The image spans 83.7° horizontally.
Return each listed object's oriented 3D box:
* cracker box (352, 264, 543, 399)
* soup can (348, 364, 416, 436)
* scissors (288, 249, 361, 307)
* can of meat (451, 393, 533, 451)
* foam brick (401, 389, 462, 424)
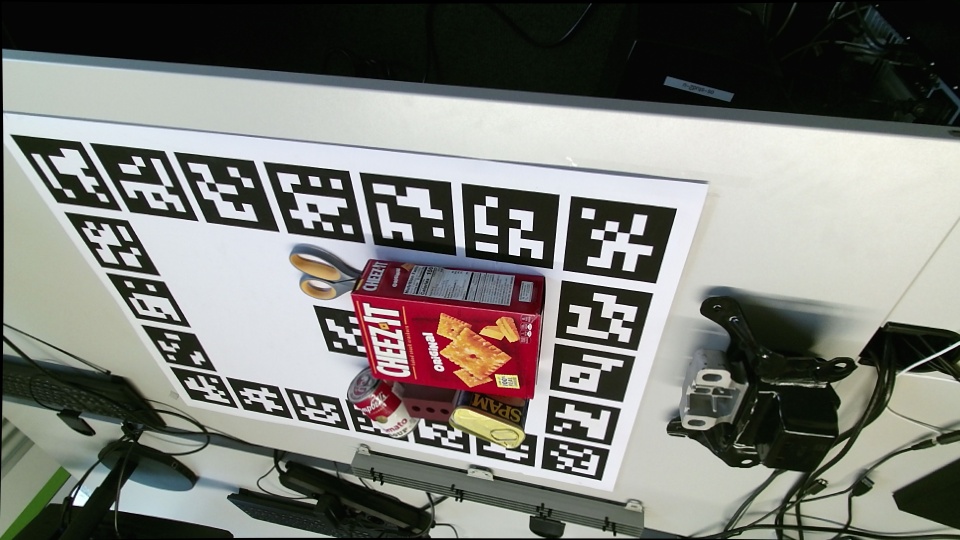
[{"bbox_3d":[-0.033,0.077,0.651,0.214,0.071,0.164,1,130,10],"label":"cracker box"},{"bbox_3d":[-0.148,0.199,0.819,0.068,0.067,0.102,-25,123,32],"label":"soup can"},{"bbox_3d":[-0.139,0.015,0.671,0.203,0.016,0.088,4,129,13],"label":"scissors"},{"bbox_3d":[0.021,0.188,0.737,0.102,0.083,0.058,19,131,1],"label":"can of meat"},{"bbox_3d":[-0.068,0.188,0.788,0.078,0.051,0.053,-1,128,17],"label":"foam brick"}]
